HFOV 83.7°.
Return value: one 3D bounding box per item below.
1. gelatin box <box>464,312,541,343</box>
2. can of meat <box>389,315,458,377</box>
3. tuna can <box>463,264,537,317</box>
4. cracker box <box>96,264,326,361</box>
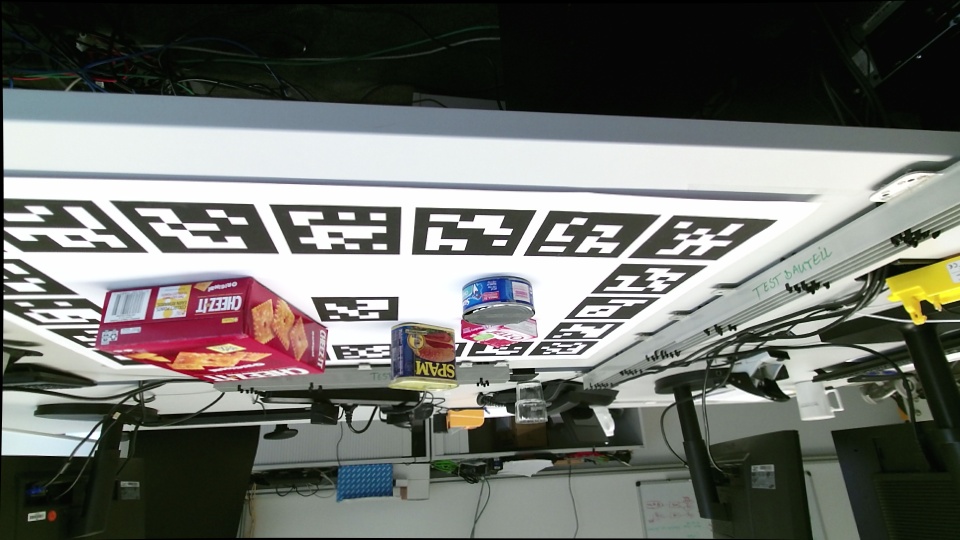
[{"bbox_3d":[0.033,0.078,0.770,0.073,0.030,0.090,-17,151,36],"label":"gelatin box"},{"bbox_3d":[-0.084,0.112,0.786,0.102,0.083,0.058,14,152,-38],"label":"can of meat"},{"bbox_3d":[0.023,0.025,0.633,0.086,0.033,0.086,-4,154,-2],"label":"tuna can"},{"bbox_3d":[-0.308,0.065,0.652,0.165,0.071,0.214,-5,159,6],"label":"cracker box"}]
